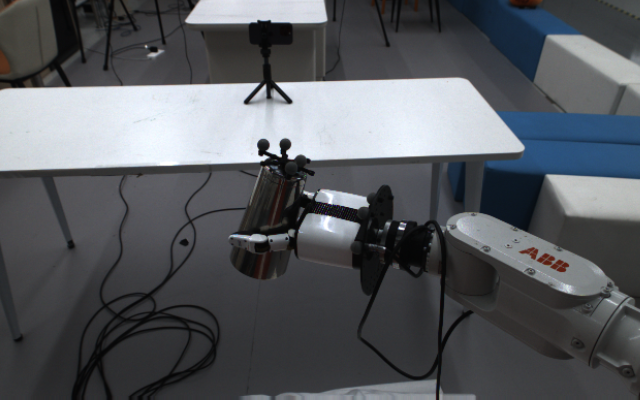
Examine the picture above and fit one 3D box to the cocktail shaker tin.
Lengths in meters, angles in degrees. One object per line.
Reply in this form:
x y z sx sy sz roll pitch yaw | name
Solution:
-0.073 0.022 0.728 0.093 0.170 0.093 15 27 -8 | cocktail shaker tin
